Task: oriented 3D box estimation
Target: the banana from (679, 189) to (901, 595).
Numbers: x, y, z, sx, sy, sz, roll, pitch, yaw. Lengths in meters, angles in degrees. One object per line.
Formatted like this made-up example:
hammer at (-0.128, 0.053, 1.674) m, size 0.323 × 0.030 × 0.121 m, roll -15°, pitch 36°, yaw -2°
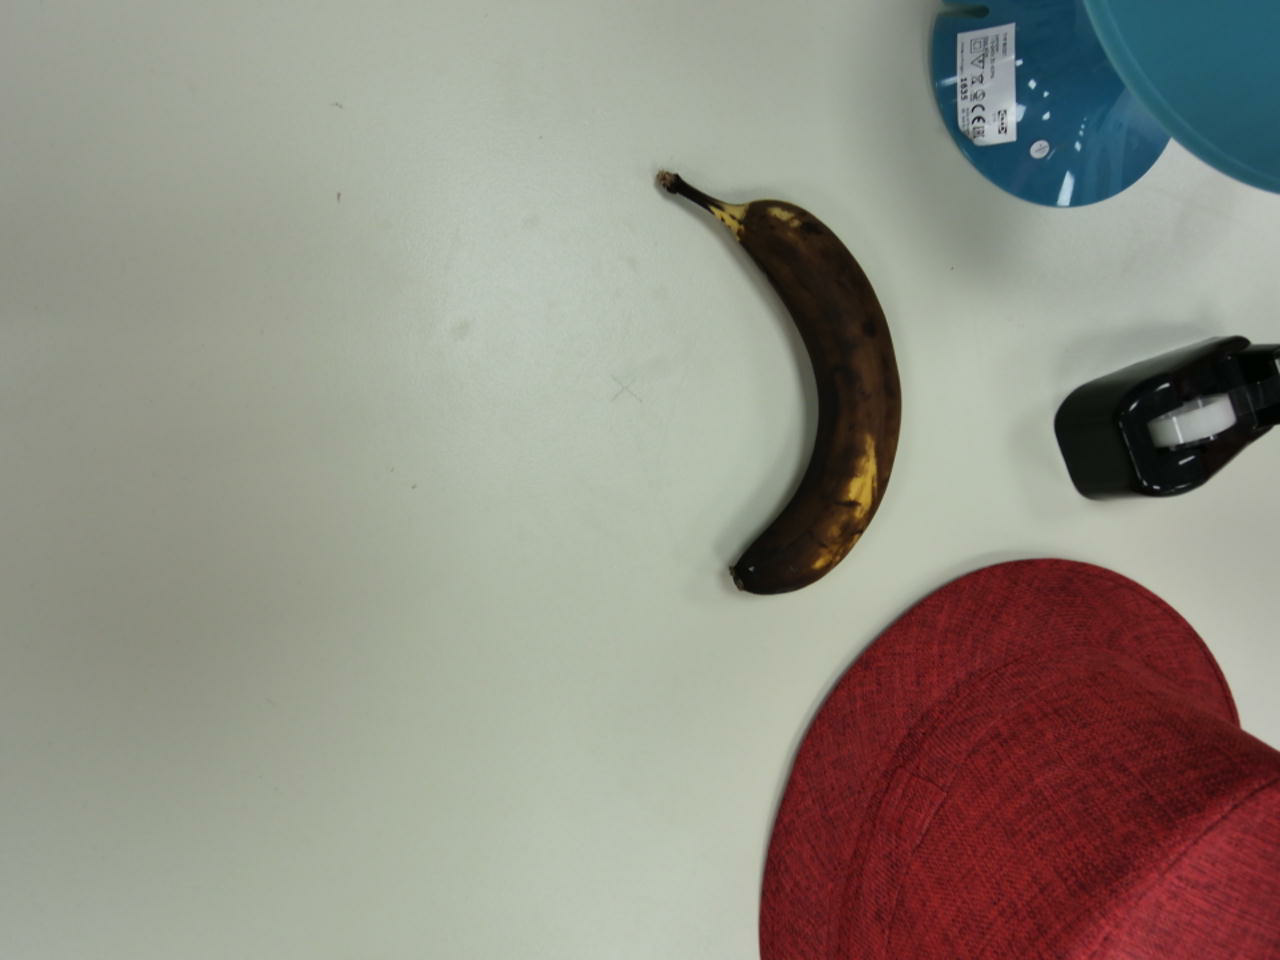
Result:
banana at (0.070, -0.047, 0.436) m, size 0.091 × 0.034 × 0.188 m, roll -9°, pitch 93°, yaw -11°
